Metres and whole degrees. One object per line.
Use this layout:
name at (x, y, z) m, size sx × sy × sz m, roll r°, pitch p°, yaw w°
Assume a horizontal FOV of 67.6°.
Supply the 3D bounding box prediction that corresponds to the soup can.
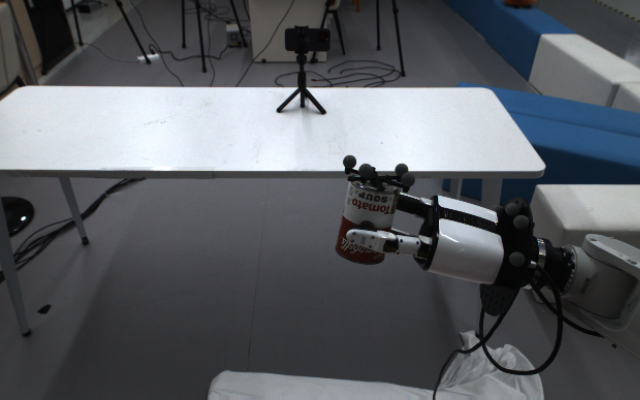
soup can at (0.064, 0.022, 0.632) m, size 0.067 × 0.101 × 0.067 m, roll 9°, pitch 20°, yaw -3°
